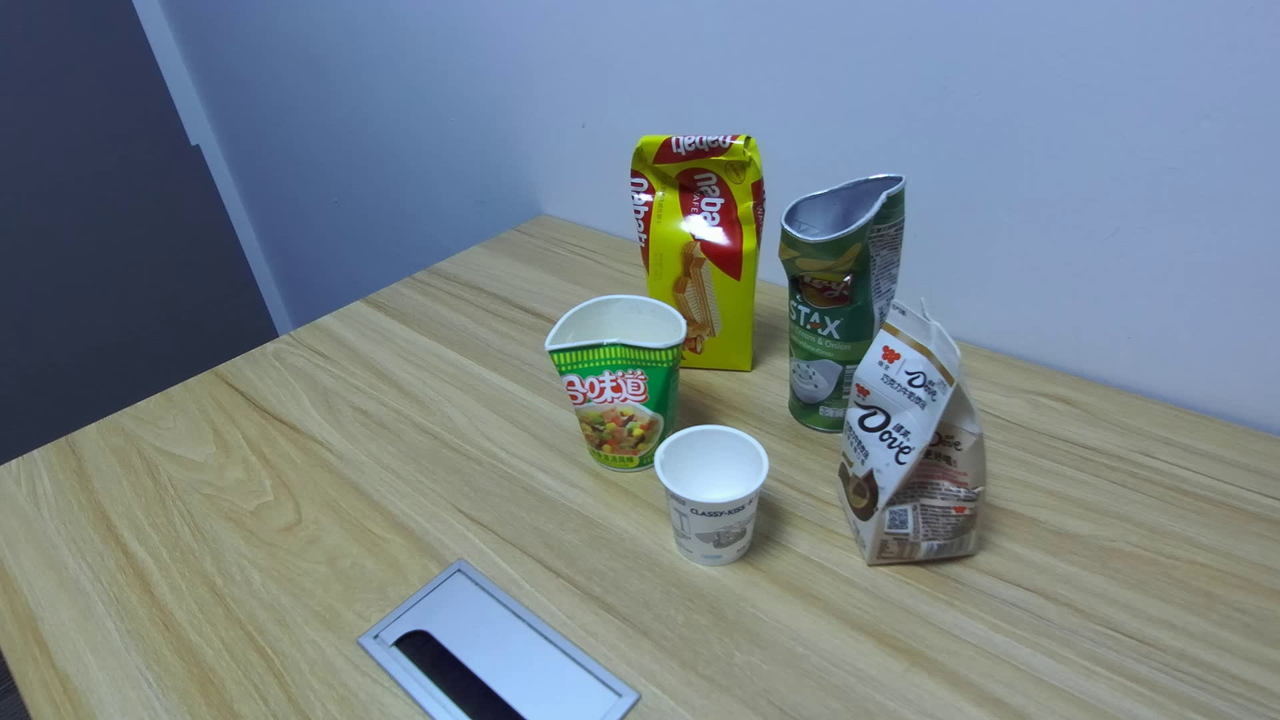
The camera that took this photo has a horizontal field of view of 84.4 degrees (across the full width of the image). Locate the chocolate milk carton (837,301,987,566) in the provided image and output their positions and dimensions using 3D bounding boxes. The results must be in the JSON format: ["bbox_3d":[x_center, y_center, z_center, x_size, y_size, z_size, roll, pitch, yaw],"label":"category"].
[{"bbox_3d":[0.172,0.046,0.433,0.073,0.155,0.084,-5,35,1],"label":"chocolate milk carton"}]

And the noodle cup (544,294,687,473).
[{"bbox_3d":[-0.009,0.020,0.534,0.093,0.110,0.087,11,37,24],"label":"noodle cup"}]

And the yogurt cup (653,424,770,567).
[{"bbox_3d":[0.047,0.091,0.460,0.072,0.068,0.072,-4,34,3],"label":"yogurt cup"}]

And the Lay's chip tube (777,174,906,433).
[{"bbox_3d":[0.145,-0.034,0.520,0.079,0.200,0.071,9,44,23],"label":"Lay's chip tube"}]

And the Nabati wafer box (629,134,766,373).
[{"bbox_3d":[0.051,-0.085,0.597,0.113,0.205,0.042,2,33,12],"label":"Nabati wafer box"}]
